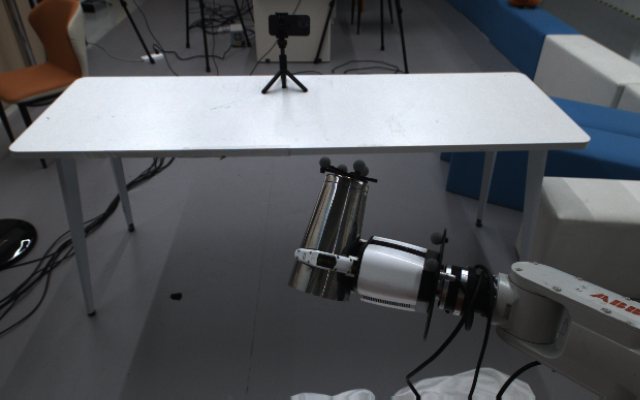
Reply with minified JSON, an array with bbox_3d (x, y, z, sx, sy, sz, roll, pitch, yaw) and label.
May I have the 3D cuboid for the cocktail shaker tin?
[{"bbox_3d":[0.019,0.052,0.710,0.093,0.170,0.093,15,-4,1],"label":"cocktail shaker tin"}]
